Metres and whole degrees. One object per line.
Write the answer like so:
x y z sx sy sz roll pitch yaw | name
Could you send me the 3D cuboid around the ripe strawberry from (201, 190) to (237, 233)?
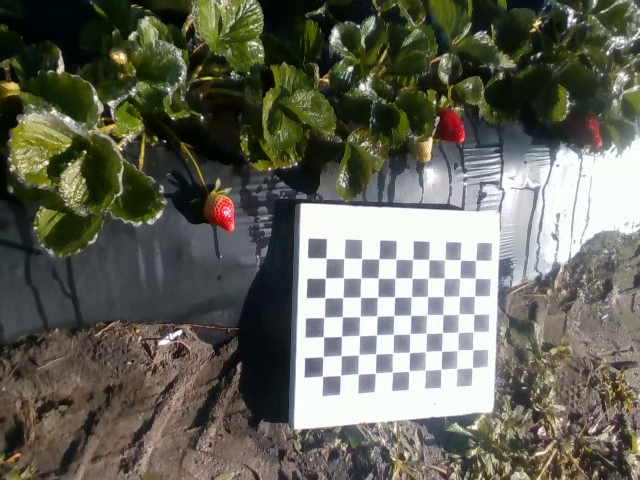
-0.109 -0.030 0.664 0.039 0.053 0.040 -22 -8 -19 | ripe strawberry
